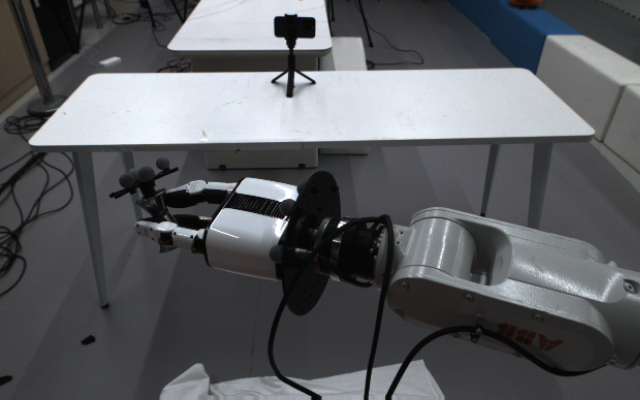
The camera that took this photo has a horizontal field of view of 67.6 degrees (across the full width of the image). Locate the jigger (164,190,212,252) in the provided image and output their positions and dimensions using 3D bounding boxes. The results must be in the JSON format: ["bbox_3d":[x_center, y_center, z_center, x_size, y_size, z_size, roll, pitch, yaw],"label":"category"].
[{"bbox_3d":[-0.187,0.024,0.594,0.043,0.071,0.043,-22,16,6],"label":"jigger"}]
